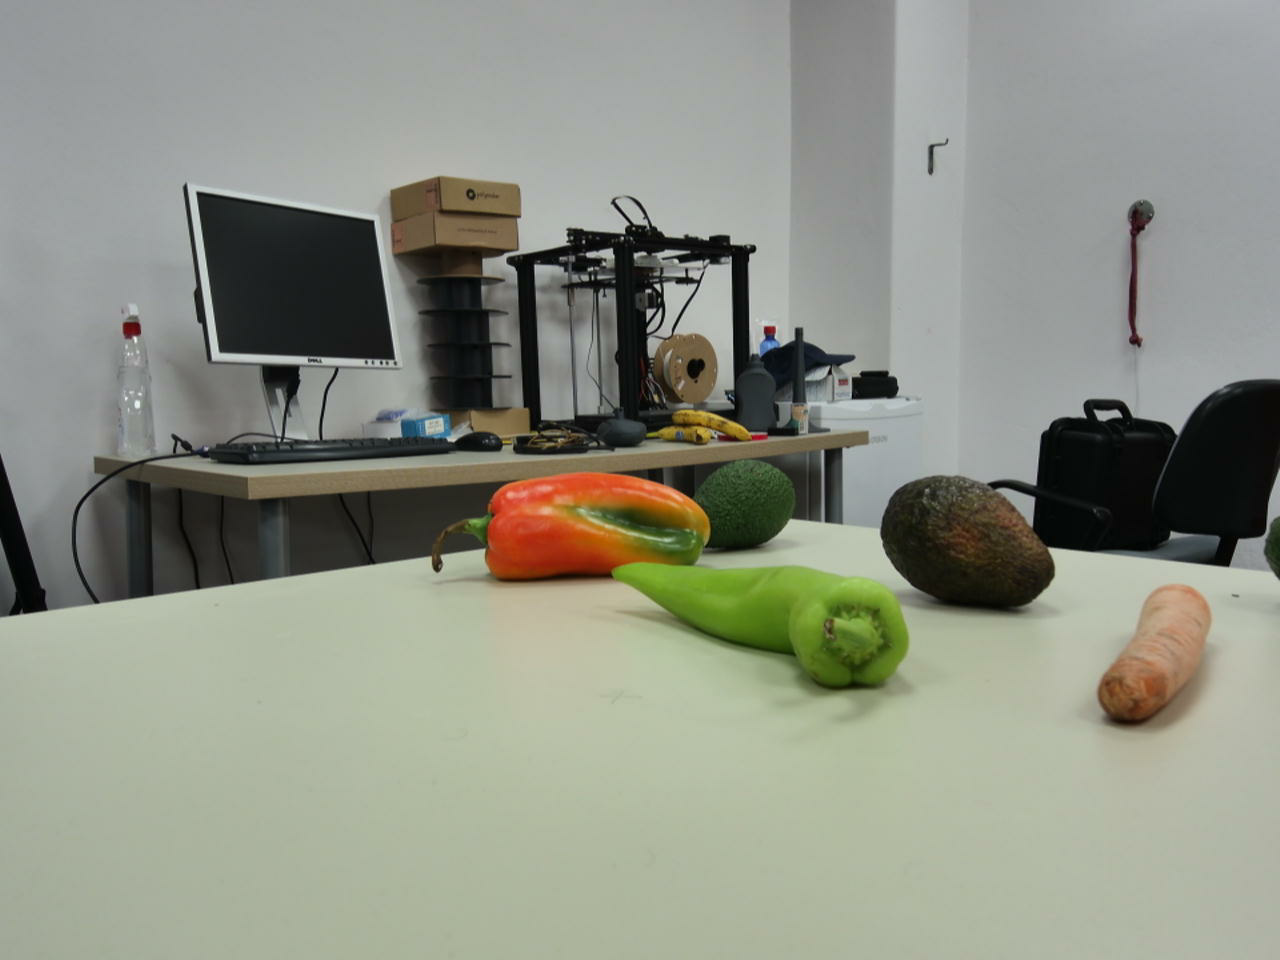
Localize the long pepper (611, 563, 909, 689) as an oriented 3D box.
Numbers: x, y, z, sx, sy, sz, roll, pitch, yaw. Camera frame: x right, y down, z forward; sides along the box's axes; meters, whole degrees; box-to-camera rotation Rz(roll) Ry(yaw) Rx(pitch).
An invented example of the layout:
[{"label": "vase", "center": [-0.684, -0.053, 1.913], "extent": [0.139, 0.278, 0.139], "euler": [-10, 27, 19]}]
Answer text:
[{"label": "long pepper", "center": [0.056, 0.058, 0.476], "extent": [0.065, 0.045, 0.205], "euler": [-1, 4, -24]}]
